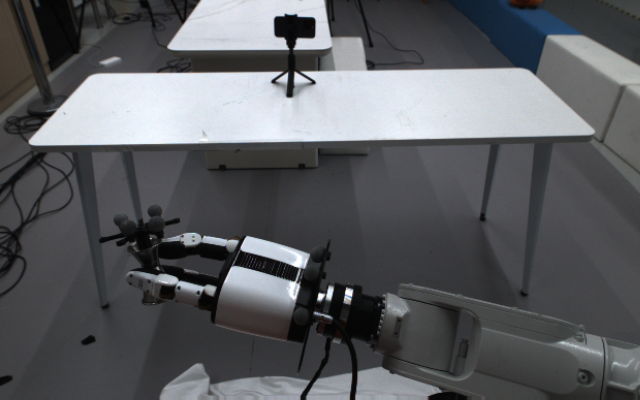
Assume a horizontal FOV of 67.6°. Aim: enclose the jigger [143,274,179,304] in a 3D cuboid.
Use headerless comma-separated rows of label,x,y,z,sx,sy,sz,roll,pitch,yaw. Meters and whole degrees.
jigger,-0.195,0.083,0.573,0.043,0.071,0.043,-11,16,3
